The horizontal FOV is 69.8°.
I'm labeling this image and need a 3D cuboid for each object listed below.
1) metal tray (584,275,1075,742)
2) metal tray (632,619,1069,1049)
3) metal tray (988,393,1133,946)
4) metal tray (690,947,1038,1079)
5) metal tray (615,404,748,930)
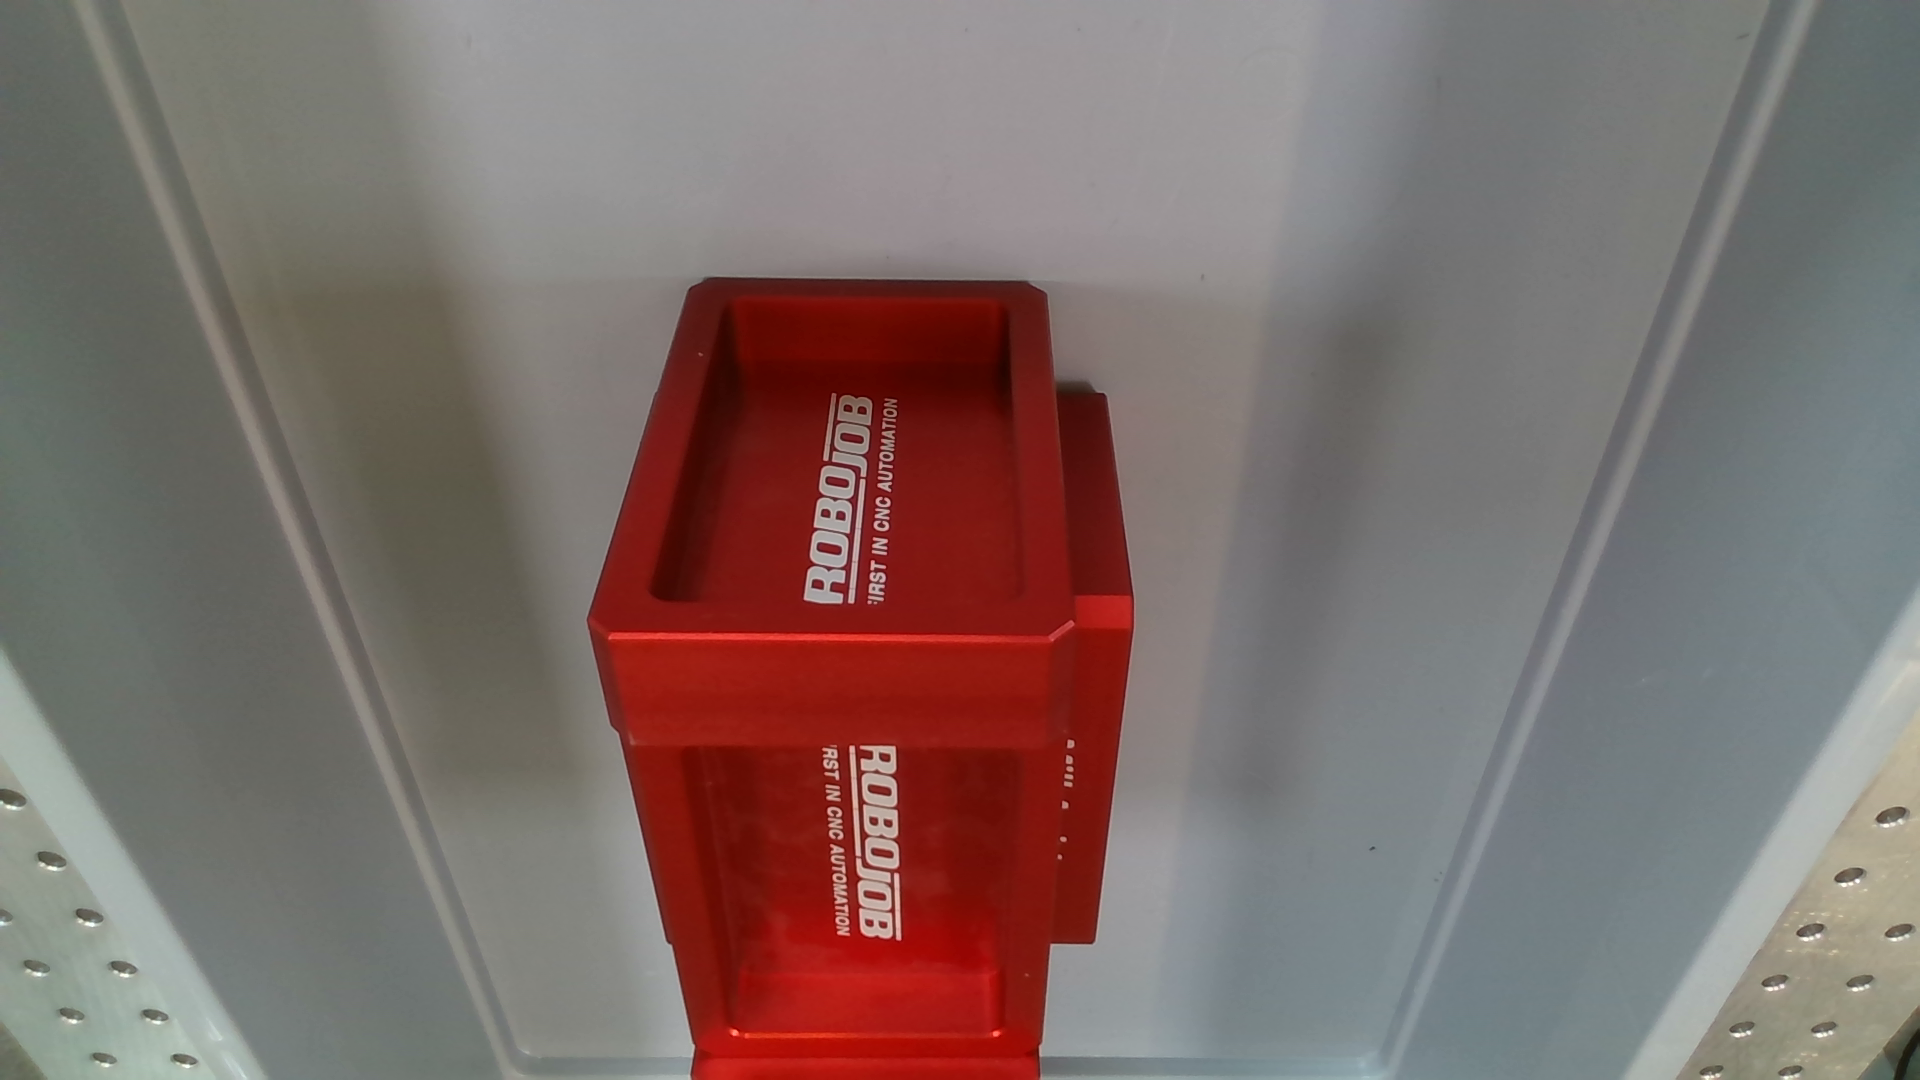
[{"bbox_3d":[-0.024,-0.014,0.307,0.090,0.130,0.030,1,130,0],"label":"metal tray"},{"bbox_3d":[-0.023,0.074,0.329,0.090,0.030,0.130,0,130,-1],"label":"metal tray"},{"bbox_3d":[0.023,0.037,0.374,0.030,0.090,0.130,1,130,0],"label":"metal tray"},{"bbox_3d":[-0.025,0.111,0.411,0.090,0.130,0.030,1,130,0],"label":"metal tray"},{"bbox_3d":[-0.066,0.036,0.374,0.030,0.090,0.130,0,130,0],"label":"metal tray"}]
